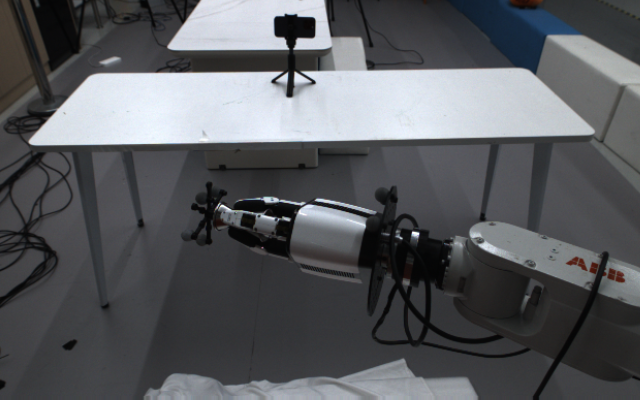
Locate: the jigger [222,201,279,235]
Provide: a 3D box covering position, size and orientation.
[{"bbox_3d":[-0.094,0.024,0.630,0.071,0.043,0.043,10,35,16],"label":"jigger"}]
